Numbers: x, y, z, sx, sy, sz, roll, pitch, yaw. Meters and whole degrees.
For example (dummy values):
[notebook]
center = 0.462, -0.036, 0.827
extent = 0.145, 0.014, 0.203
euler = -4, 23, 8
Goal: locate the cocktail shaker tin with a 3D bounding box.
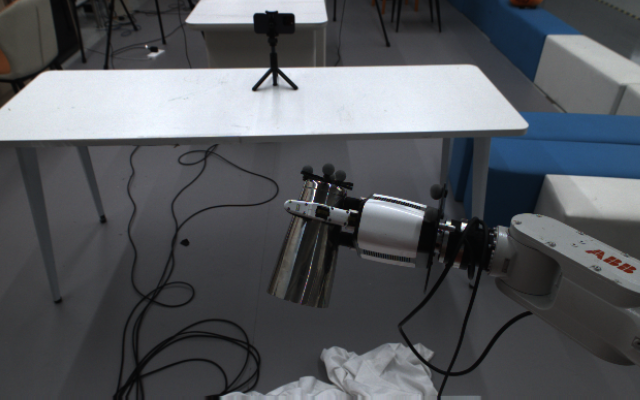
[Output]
[cocktail shaker tin]
center = -0.011, 0.058, 0.707
extent = 0.093, 0.170, 0.093
euler = 15, -5, 1
